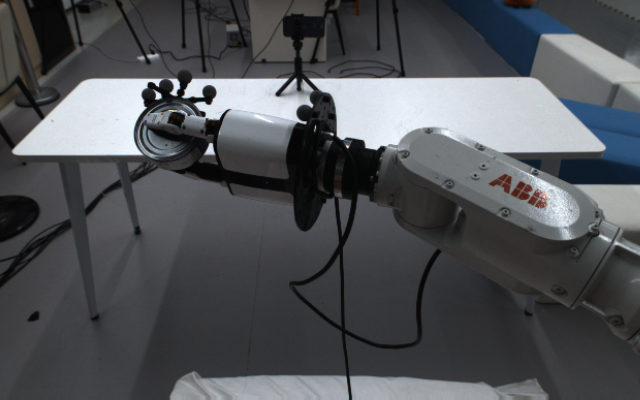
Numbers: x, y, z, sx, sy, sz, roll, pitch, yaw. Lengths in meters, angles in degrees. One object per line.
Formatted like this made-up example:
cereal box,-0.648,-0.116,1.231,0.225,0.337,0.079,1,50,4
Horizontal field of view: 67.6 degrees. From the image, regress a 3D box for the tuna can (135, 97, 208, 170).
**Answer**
tuna can,-0.178,-0.079,0.596,0.085,0.034,0.085,-2,69,6
